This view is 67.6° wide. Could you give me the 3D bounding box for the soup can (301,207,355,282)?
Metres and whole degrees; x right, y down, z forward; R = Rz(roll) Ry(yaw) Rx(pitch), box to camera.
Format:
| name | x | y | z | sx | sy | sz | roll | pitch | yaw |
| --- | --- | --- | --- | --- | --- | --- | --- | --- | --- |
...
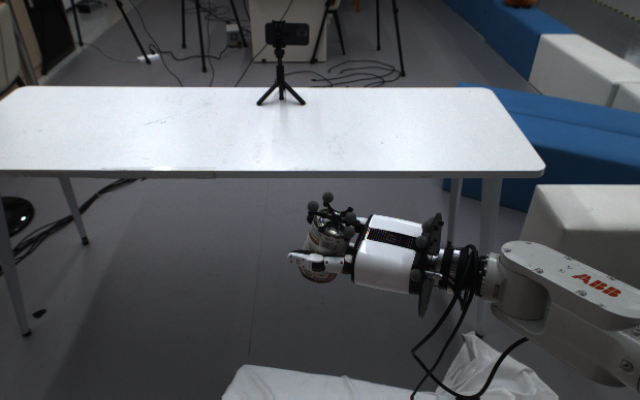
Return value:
| name | x | y | z | sx | sy | sz | roll | pitch | yaw |
| --- | --- | --- | --- | --- | --- | --- | --- | --- | --- |
| soup can | 0.010 | 0.074 | 0.764 | 0.067 | 0.101 | 0.067 | 13 | 34 | -9 |
